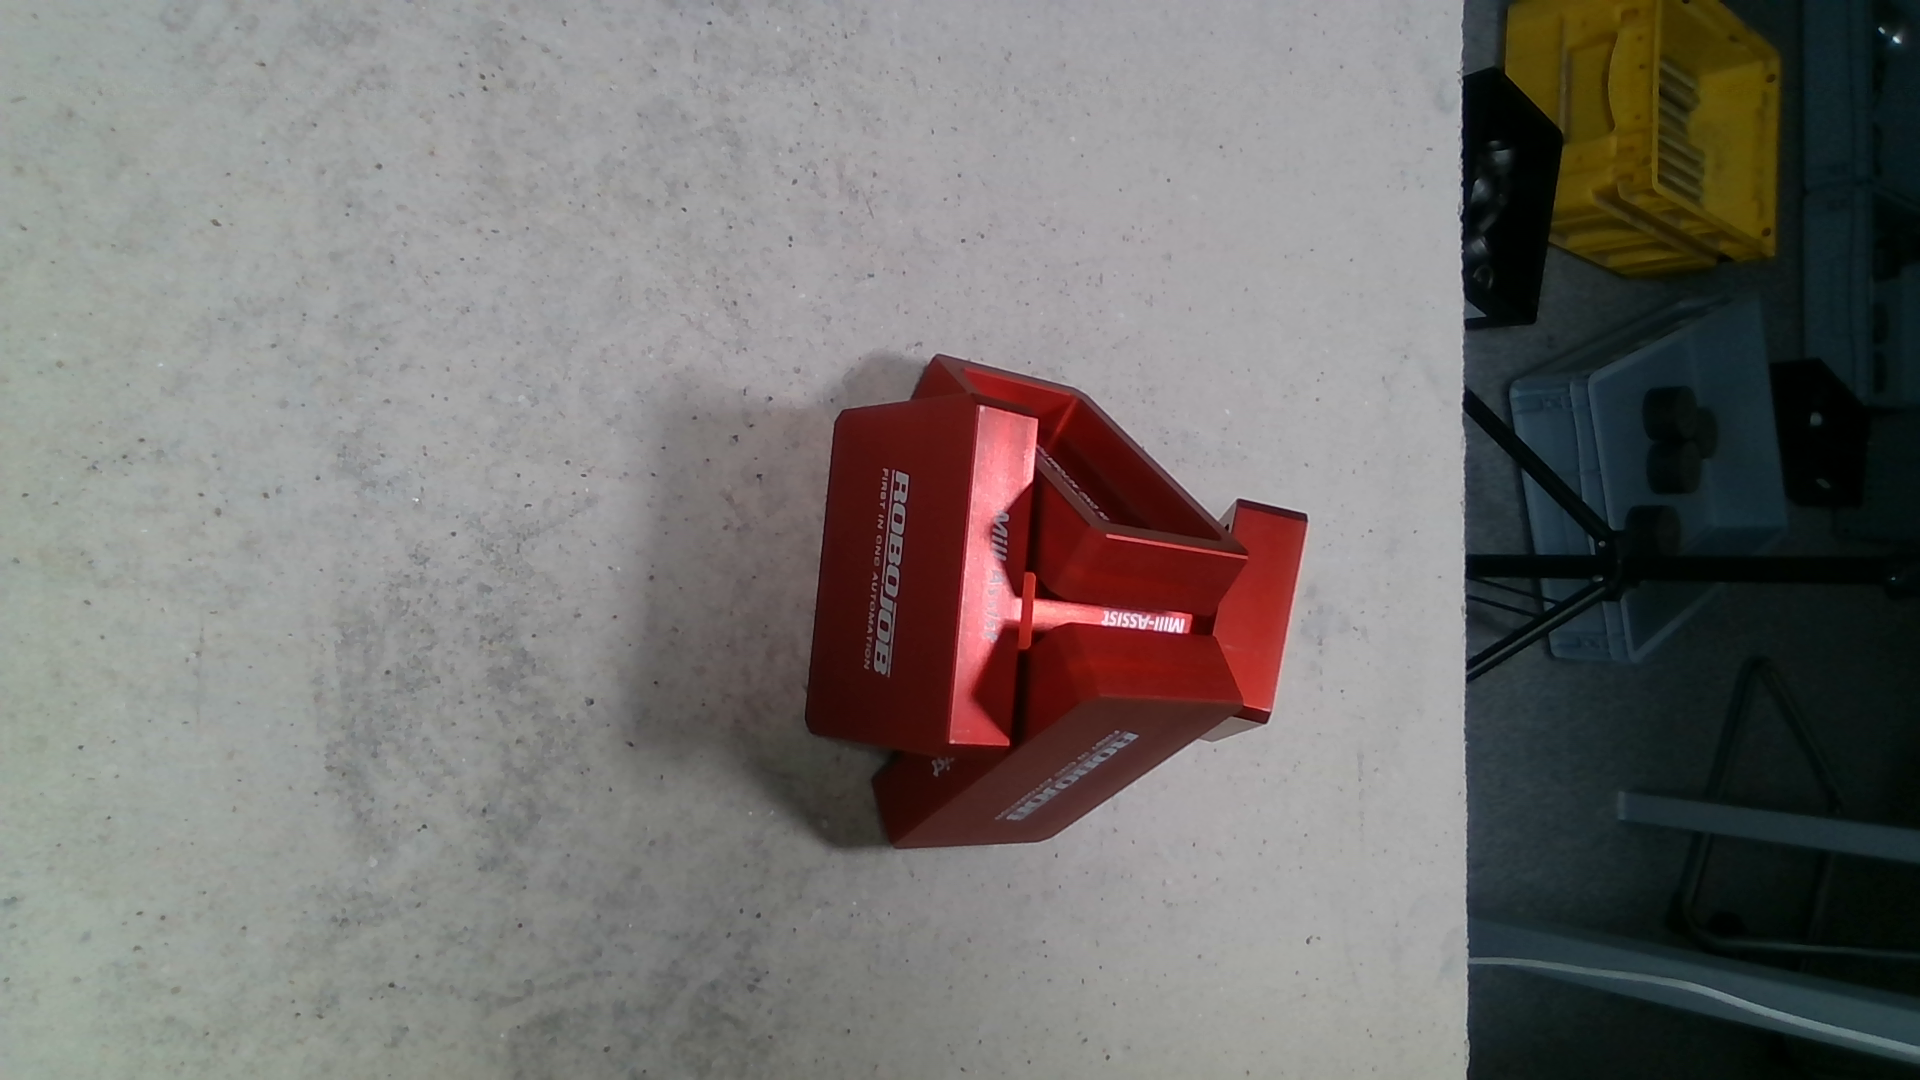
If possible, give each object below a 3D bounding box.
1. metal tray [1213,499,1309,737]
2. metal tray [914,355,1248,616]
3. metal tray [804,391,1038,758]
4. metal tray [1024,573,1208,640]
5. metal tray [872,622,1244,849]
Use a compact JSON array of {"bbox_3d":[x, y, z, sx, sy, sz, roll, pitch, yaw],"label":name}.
[{"bbox_3d":[0.120,0.040,0.625,0.030,0.130,0.090,13,79,2],"label":"metal tray"},{"bbox_3d":[0.045,-0.024,0.557,0.090,0.130,0.030,8,121,-40],"label":"metal tray"},{"bbox_3d":[-0.017,0.013,0.526,0.030,0.090,0.130,9,84,-40],"label":"metal tray"},{"bbox_3d":[0.044,0.033,0.578,0.130,0.090,0.030,9,84,-40],"label":"metal tray"},{"bbox_3d":[0.037,0.081,0.549,0.090,0.130,0.030,8,51,-40],"label":"metal tray"}]
